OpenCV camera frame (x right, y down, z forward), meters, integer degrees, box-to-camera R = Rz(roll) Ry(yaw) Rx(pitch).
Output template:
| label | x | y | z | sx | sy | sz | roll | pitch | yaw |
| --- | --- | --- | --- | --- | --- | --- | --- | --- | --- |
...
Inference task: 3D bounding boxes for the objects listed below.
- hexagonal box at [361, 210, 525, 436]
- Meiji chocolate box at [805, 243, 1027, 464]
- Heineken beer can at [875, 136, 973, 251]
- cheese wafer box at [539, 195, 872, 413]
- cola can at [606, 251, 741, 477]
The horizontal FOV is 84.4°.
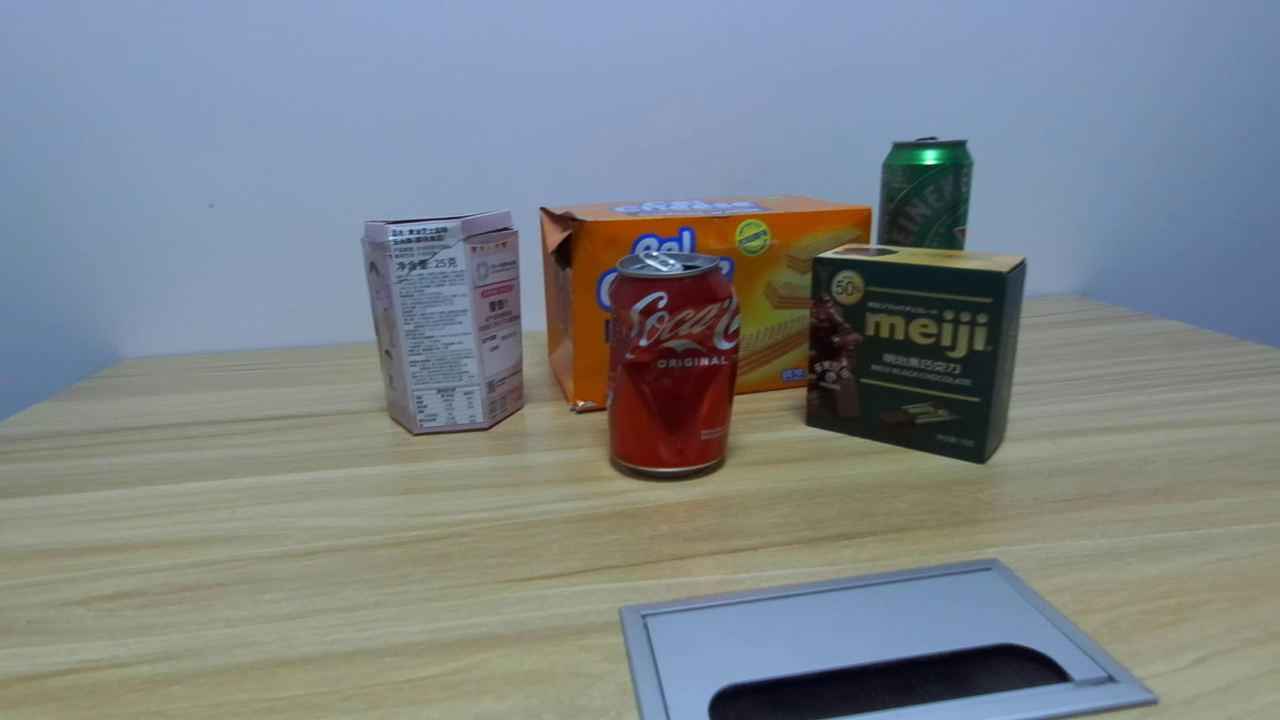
| label | x | y | z | sx | sy | sz | roll | pitch | yaw |
| --- | --- | --- | --- | --- | --- | --- | --- | --- | --- |
| hexagonal box | -0.126 | -0.027 | 0.467 | 0.084 | 0.135 | 0.092 | 6 | 18 | 26 |
| Meiji chocolate box | 0.160 | -0.008 | 0.417 | 0.109 | 0.109 | 0.056 | 11 | 22 | 35 |
| Heineken beer can | 0.221 | -0.083 | 0.557 | 0.067 | 0.169 | 0.067 | -1 | 13 | 0 |
| cheese wafer box | 0.043 | -0.056 | 0.545 | 0.227 | 0.137 | 0.149 | -6 | 18 | -13 |
| cola can | 0.015 | 0.001 | 0.384 | 0.067 | 0.117 | 0.065 | -8 | 18 | -22 |
